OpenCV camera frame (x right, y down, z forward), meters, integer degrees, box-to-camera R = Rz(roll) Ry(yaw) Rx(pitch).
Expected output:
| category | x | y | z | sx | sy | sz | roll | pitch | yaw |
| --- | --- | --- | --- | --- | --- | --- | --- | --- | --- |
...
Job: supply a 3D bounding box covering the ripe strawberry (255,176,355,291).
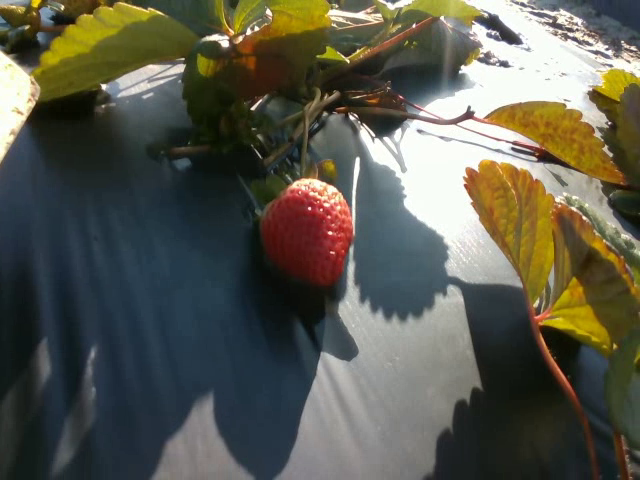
| category | x | y | z | sx | sy | sz | roll | pitch | yaw |
| --- | --- | --- | --- | --- | --- | --- | --- | --- | --- |
| ripe strawberry | -0.001 | -0.002 | 0.226 | 0.043 | 0.044 | 0.064 | 44 | 12 | -38 |
